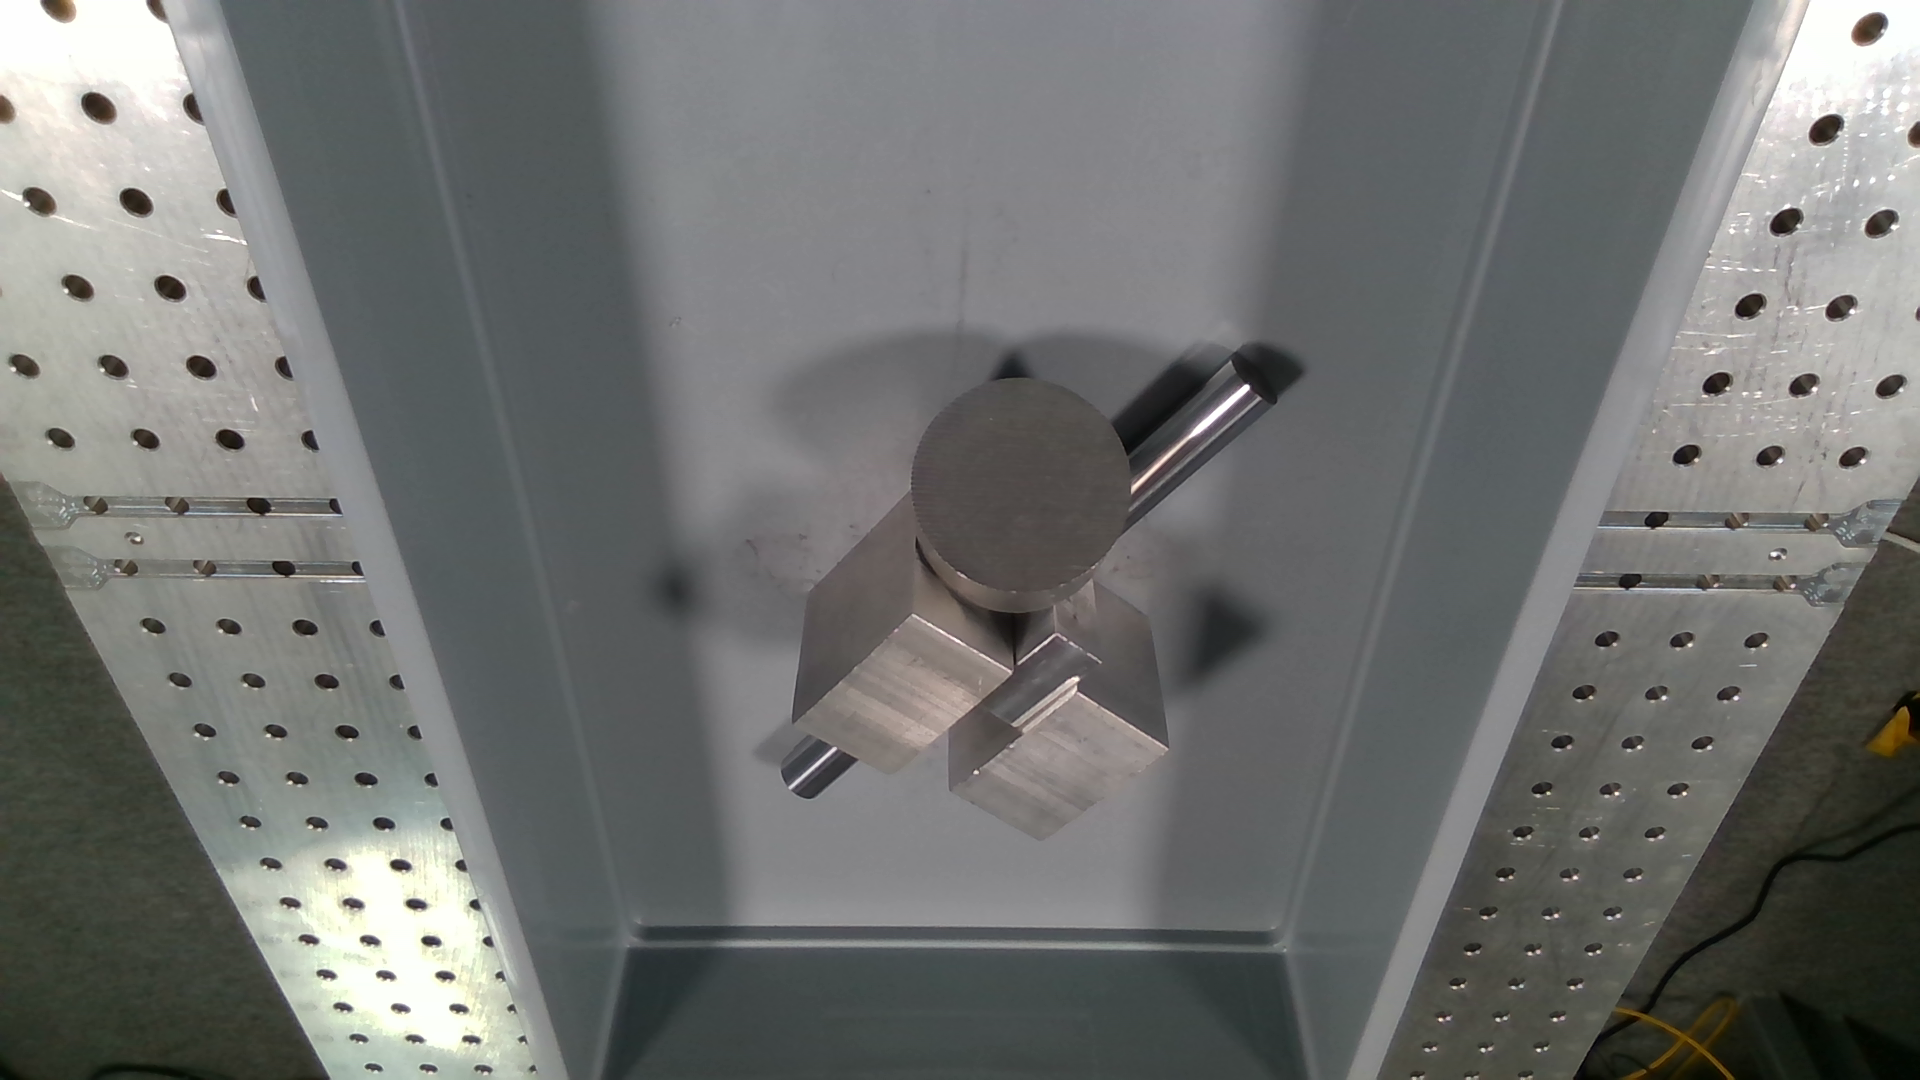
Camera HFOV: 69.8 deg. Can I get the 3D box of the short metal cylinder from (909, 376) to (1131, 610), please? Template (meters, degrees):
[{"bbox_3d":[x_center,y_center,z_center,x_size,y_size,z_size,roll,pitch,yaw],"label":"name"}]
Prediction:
[{"bbox_3d":[0.021,-0.016,0.521,0.080,0.080,0.050,1,169,0],"label":"short metal cylinder"}]

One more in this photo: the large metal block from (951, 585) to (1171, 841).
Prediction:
[{"bbox_3d":[0.041,0.070,0.603,0.050,0.080,0.080,33,123,-25],"label":"large metal block"}]

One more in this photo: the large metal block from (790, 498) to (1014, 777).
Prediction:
[{"bbox_3d":[-0.024,0.037,0.574,0.050,0.080,0.080,32,123,-24],"label":"large metal block"}]

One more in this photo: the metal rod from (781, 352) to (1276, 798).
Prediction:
[{"bbox_3d":[0.017,0.027,0.601,0.025,0.025,0.301,32,123,-24],"label":"metal rod"}]

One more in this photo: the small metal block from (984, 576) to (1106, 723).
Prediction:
[{"bbox_3d":[0.031,0.038,0.564,0.025,0.050,0.050,33,122,-25],"label":"small metal block"}]
